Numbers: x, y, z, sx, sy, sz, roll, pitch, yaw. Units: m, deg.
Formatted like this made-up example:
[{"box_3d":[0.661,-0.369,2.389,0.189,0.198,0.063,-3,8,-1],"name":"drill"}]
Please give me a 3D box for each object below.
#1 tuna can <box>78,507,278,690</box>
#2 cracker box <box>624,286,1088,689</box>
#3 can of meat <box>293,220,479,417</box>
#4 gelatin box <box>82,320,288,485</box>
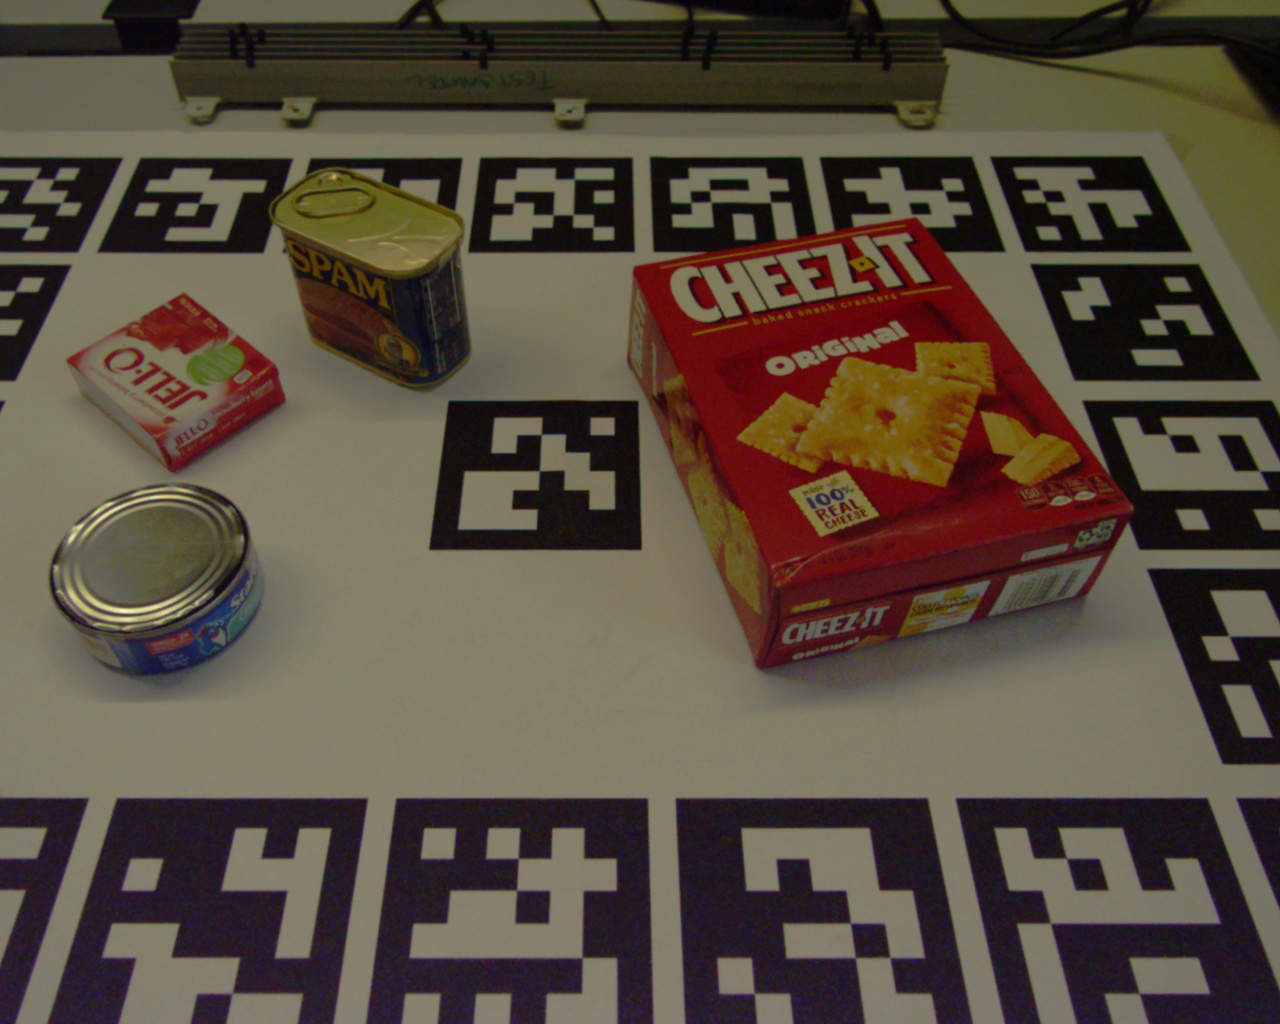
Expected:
[{"box_3d":[-0.219,0.041,0.547,0.086,0.033,0.086,0,52,0],"name":"tuna can"},{"box_3d":[0.100,-0.027,0.598,0.163,0.072,0.215,-12,48,-13],"name":"cracker box"},{"box_3d":[-0.144,-0.111,0.662,0.103,0.083,0.057,23,52,19],"name":"can of meat"},{"box_3d":[-0.256,-0.064,0.644,0.090,0.030,0.073,35,54,23],"name":"gelatin box"}]
